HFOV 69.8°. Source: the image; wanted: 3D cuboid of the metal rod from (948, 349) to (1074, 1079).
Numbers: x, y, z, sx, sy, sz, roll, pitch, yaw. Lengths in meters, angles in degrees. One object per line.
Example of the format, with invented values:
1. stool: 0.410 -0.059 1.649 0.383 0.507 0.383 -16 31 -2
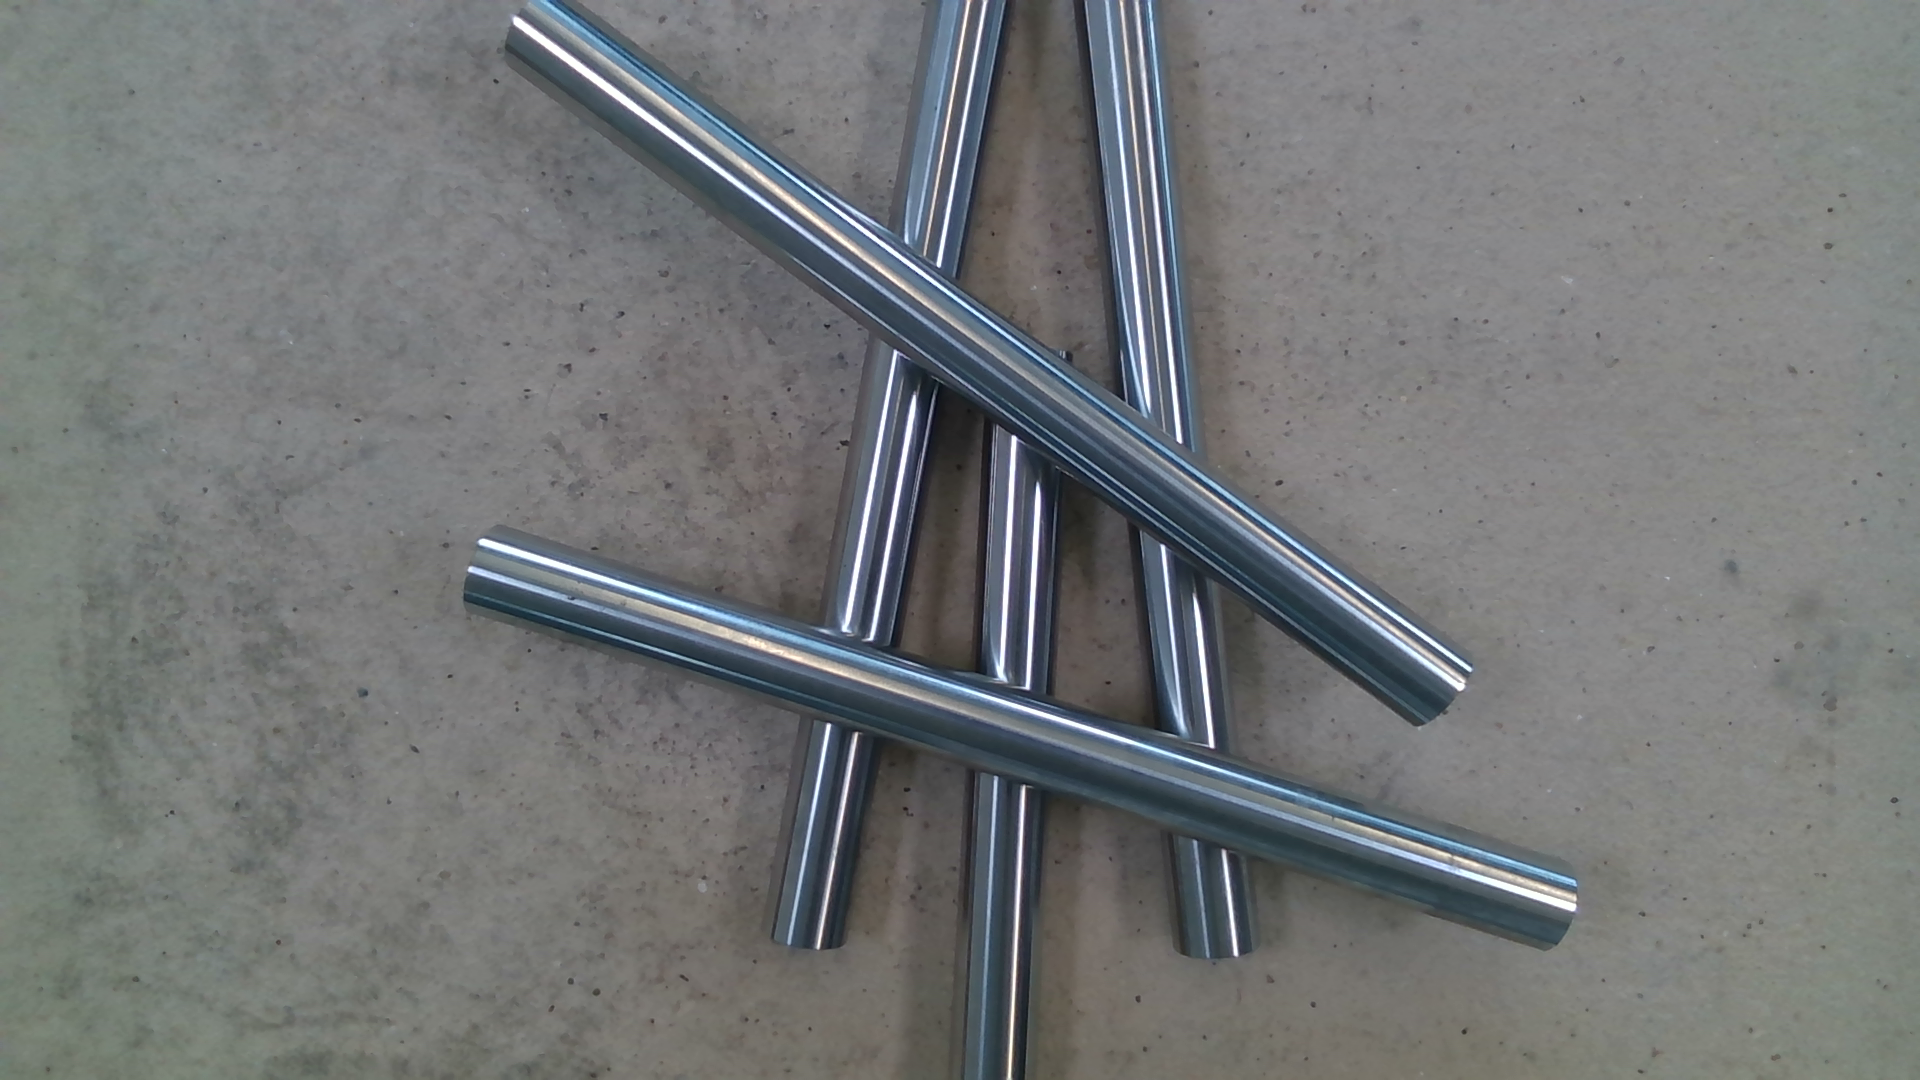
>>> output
1. metal rod: 0.012 0.095 0.396 0.025 0.025 0.300 3 90 0

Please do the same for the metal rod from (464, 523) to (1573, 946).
1. metal rod: 0.015 0.052 0.371 0.300 0.025 0.025 17 90 0

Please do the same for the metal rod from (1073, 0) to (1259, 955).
1. metal rod: 0.058 -0.034 0.395 0.025 0.025 0.300 -6 90 0

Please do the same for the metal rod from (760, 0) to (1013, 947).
1. metal rod: -0.019 -0.035 0.395 0.025 0.025 0.300 10 90 0

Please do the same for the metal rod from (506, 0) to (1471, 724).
1. metal rod: 0.008 -0.049 0.371 0.300 0.025 0.025 36 90 0
